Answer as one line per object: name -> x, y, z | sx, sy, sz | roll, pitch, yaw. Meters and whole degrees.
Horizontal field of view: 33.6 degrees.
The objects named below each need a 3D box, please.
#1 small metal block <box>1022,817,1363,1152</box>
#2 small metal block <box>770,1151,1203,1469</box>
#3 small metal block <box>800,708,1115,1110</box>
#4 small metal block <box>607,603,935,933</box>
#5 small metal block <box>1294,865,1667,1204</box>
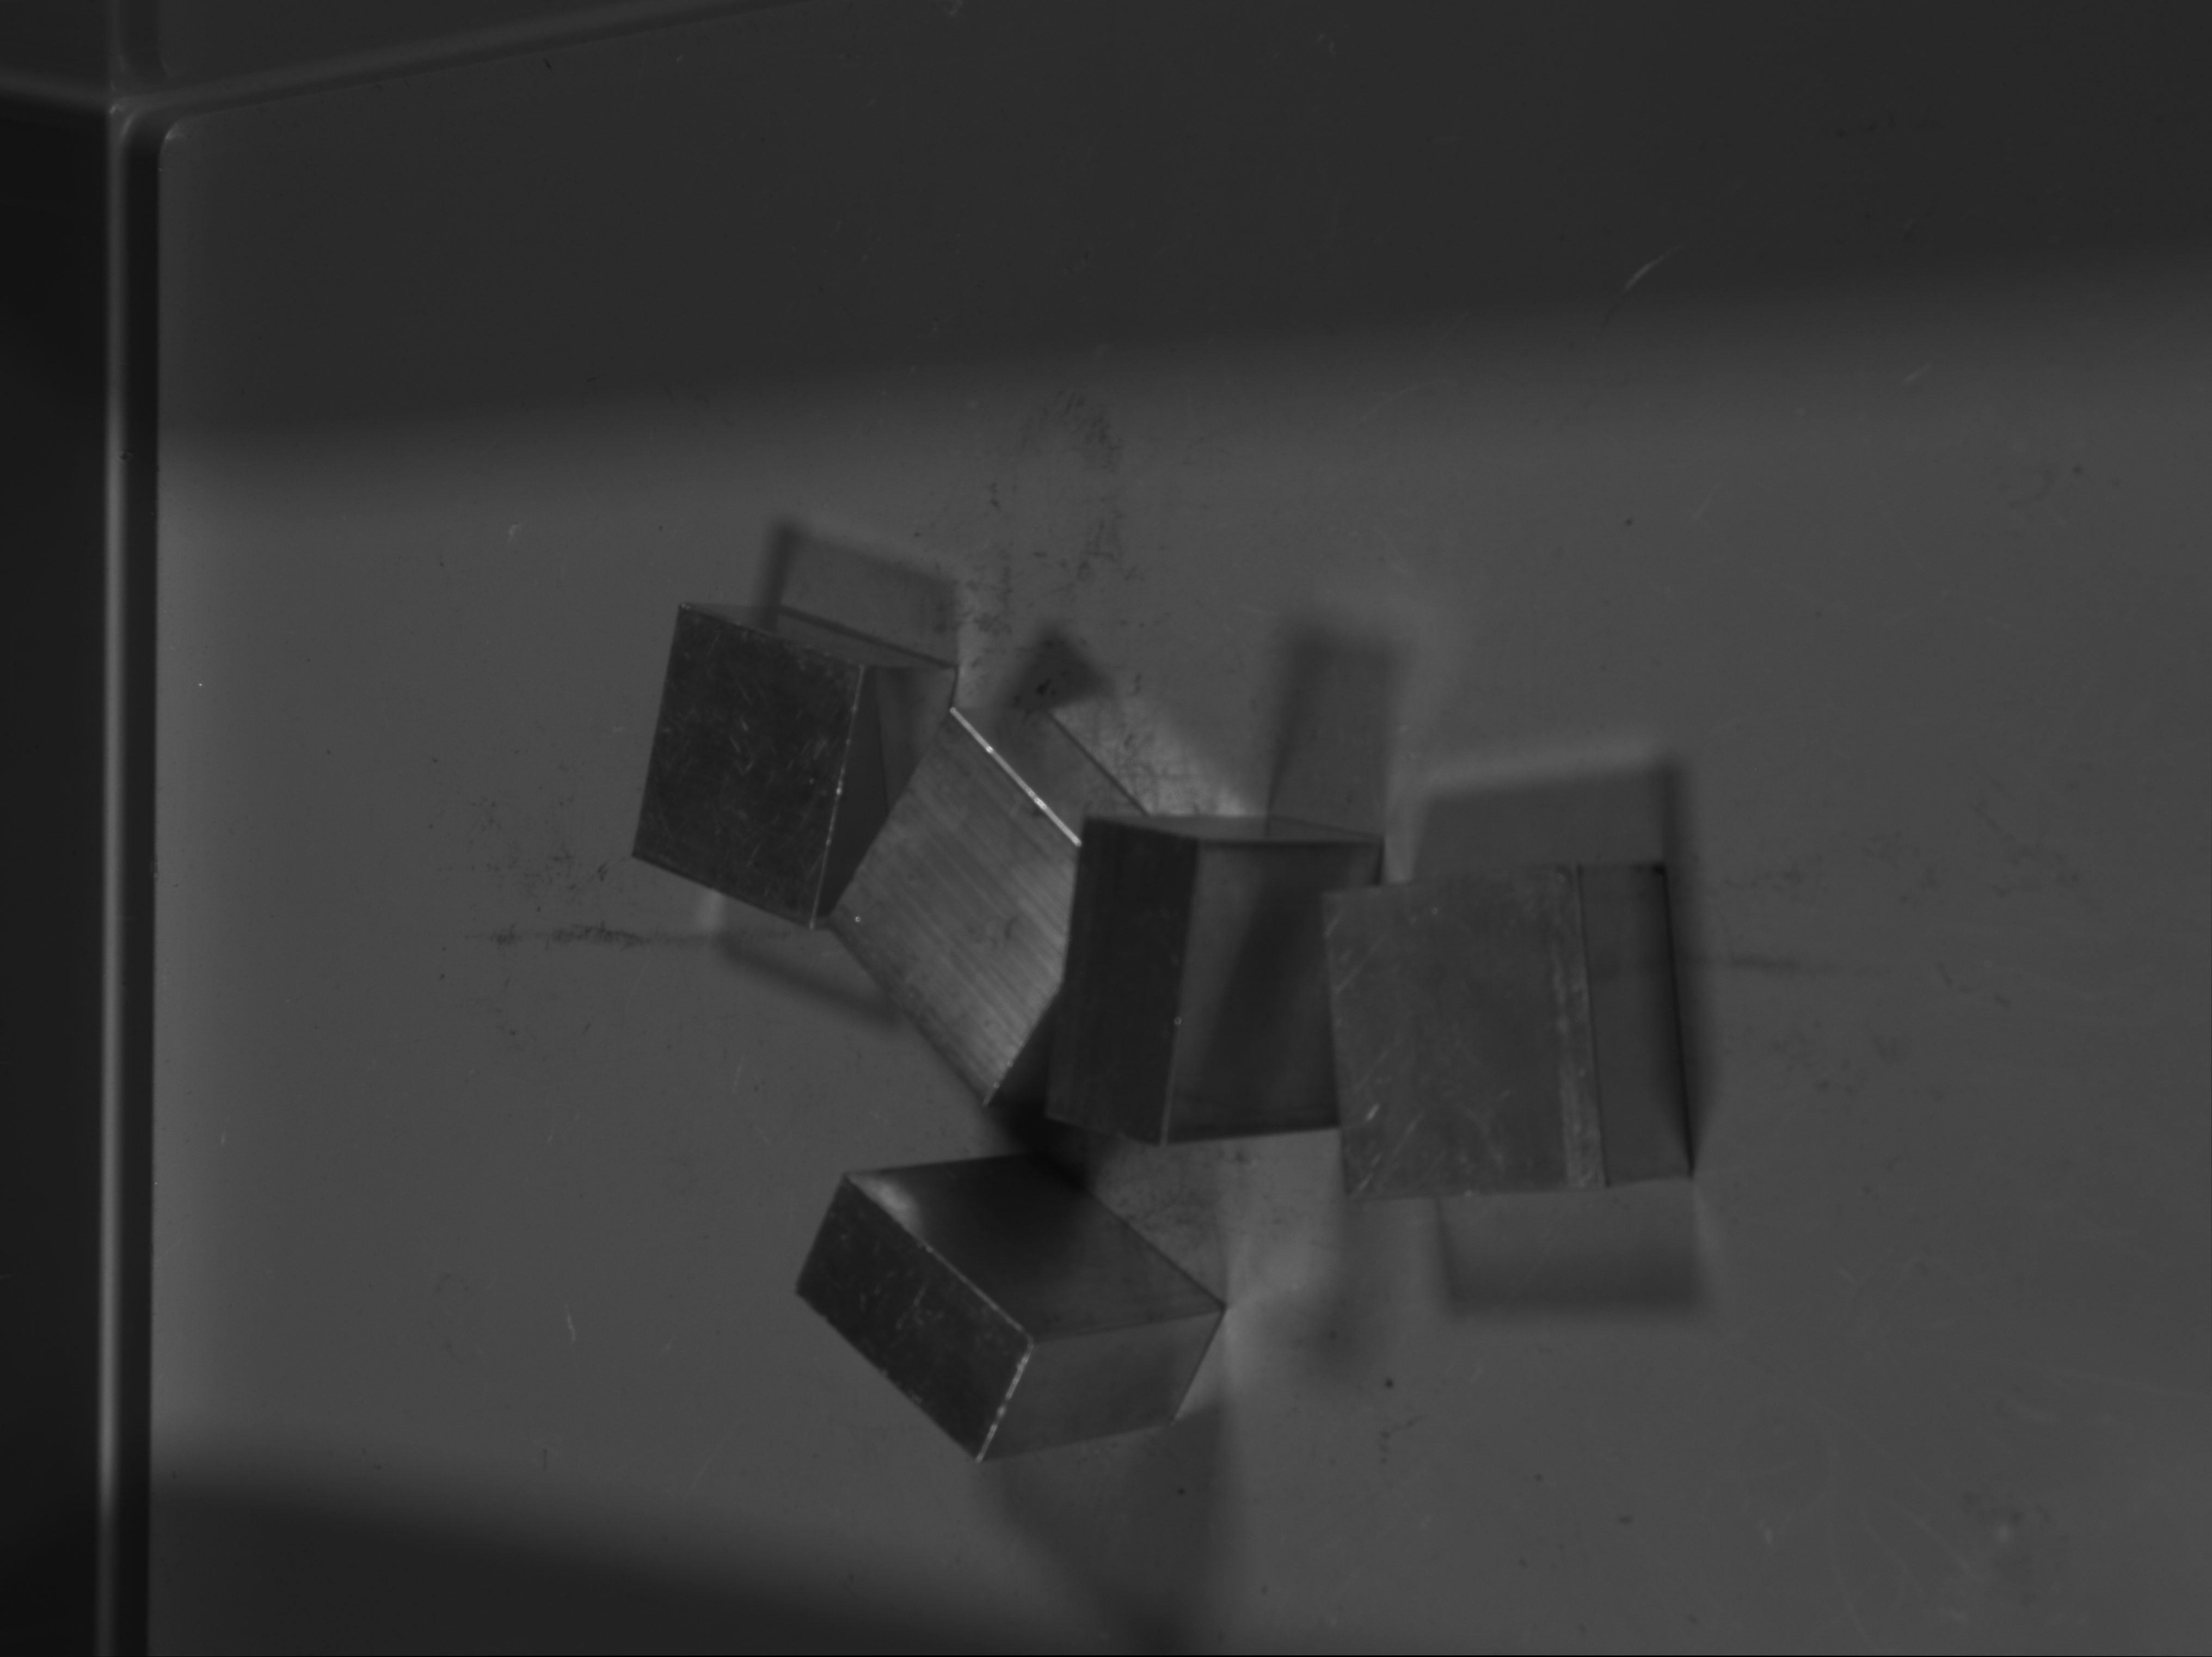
small metal block -> 0.015, 0.025, 0.606 | 0.025, 0.050, 0.050 | 12, 97, 38
small metal block -> -0.021, 0.082, 0.634 | 0.050, 0.050, 0.025 | 37, 113, 33
small metal block -> -0.020, 0.014, 0.650 | 0.050, 0.025, 0.050 | 46, 117, 30
small metal block -> -0.063, -0.012, 0.686 | 0.050, 0.025, 0.050 | 19, 102, 38
small metal block -> 0.059, 0.033, 0.585 | 0.050, 0.025, 0.050 | -7, 85, 39
